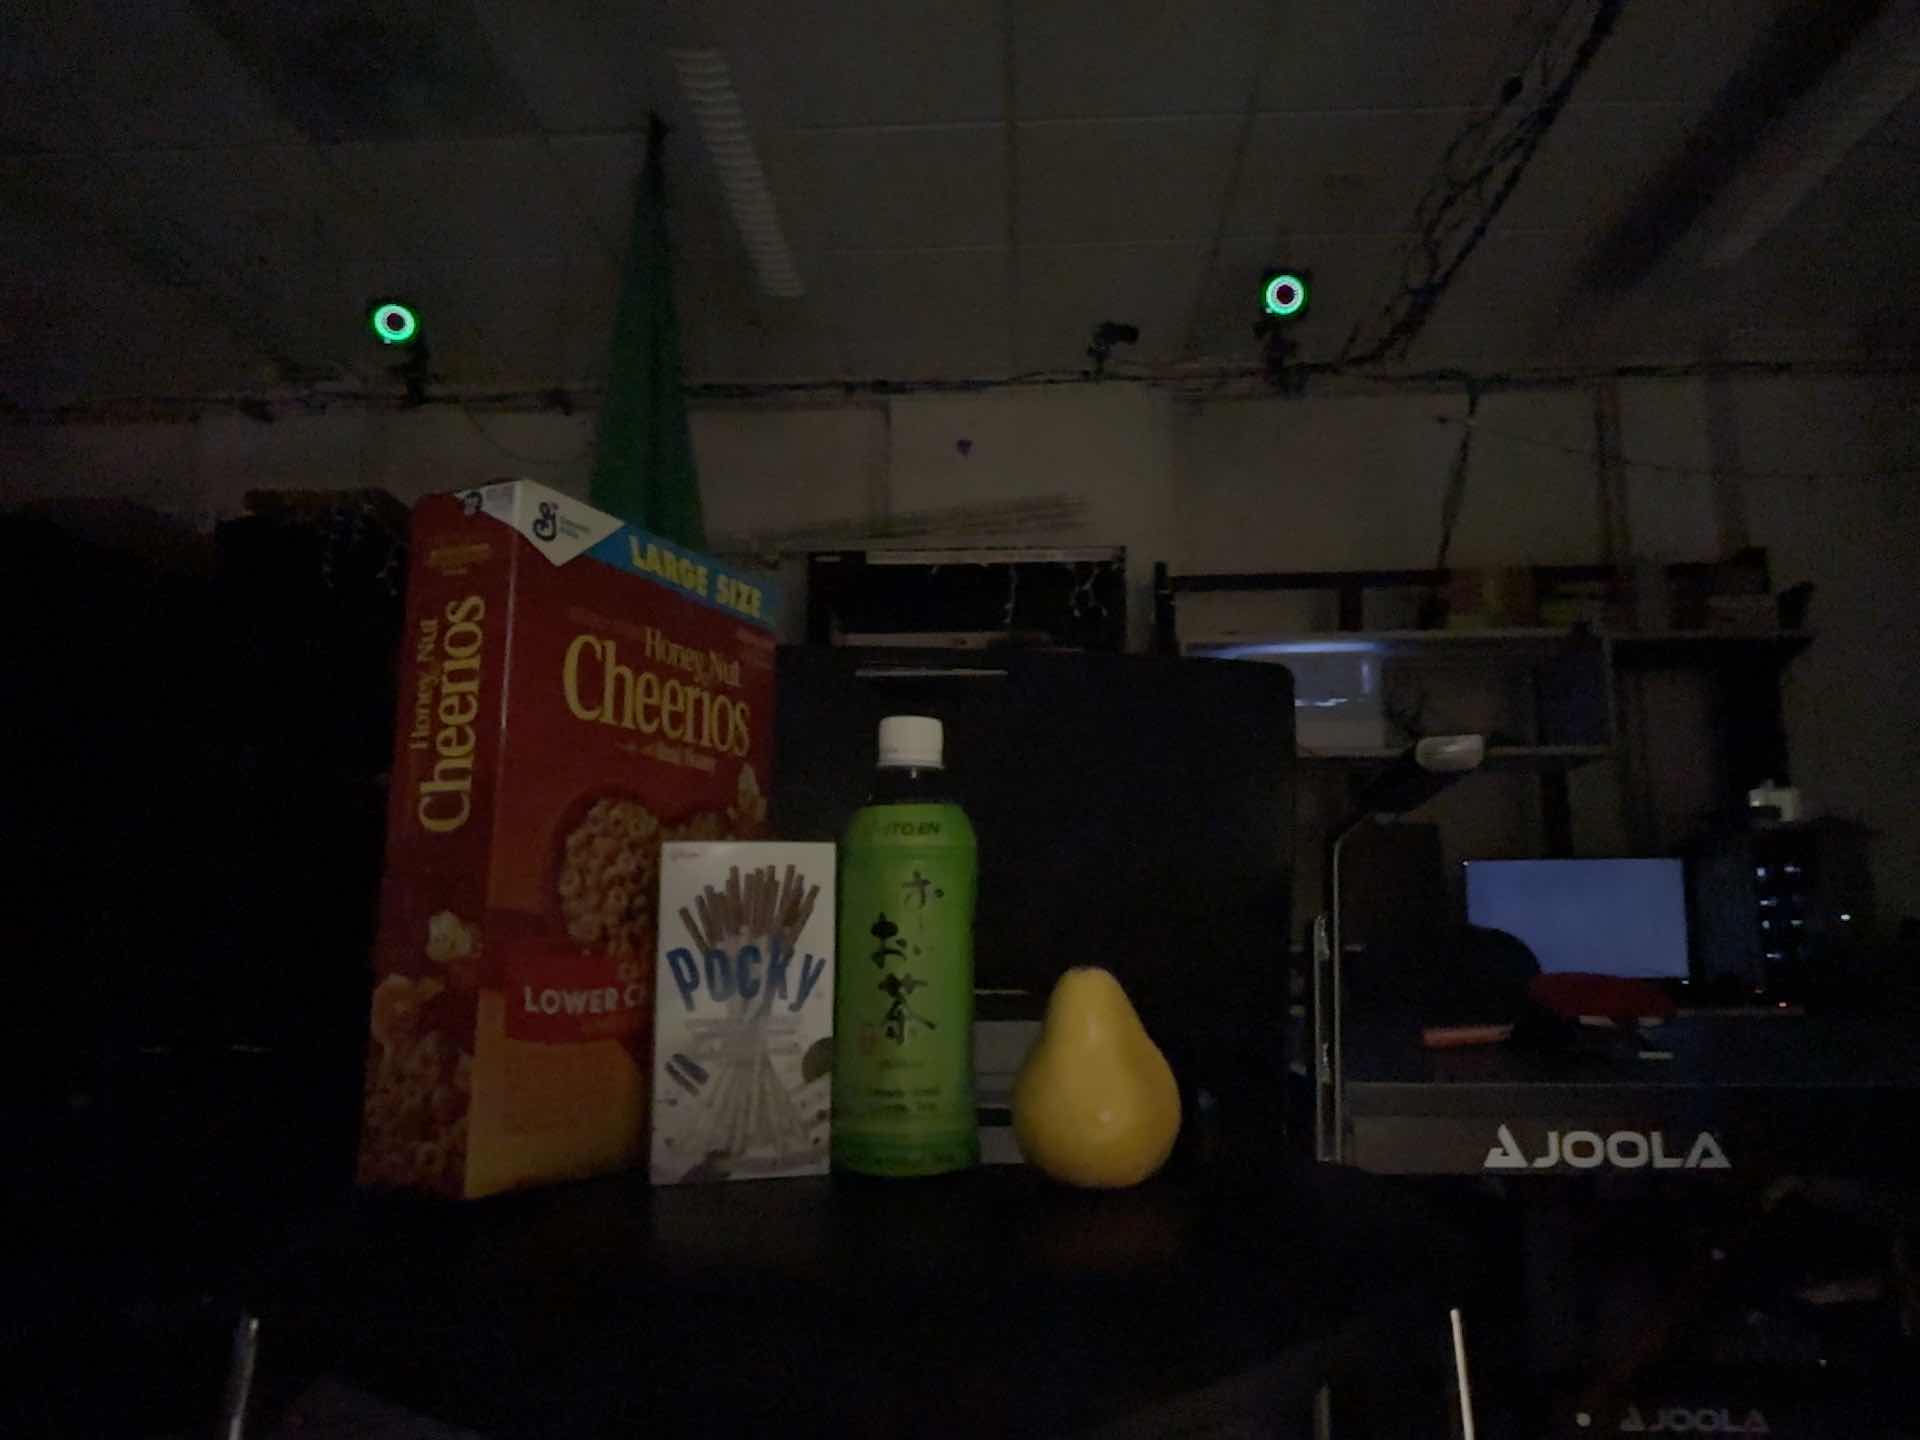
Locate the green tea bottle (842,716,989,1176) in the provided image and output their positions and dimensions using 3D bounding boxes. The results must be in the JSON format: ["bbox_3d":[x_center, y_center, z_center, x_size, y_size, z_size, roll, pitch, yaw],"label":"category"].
[{"bbox_3d":[-0.023,0.104,0.647,0.073,0.212,0.073,-3,-7,0],"label":"green tea bottle"}]

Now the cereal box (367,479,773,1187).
[{"bbox_3d":[-0.180,0.056,0.673,0.065,0.297,0.195,-2,-10,24],"label":"cereal box"}]

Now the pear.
[{"bbox_3d":[0.062,0.152,0.616,0.080,0.111,0.080,-2,-12,-1],"label":"pear"}]

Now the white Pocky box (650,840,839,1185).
[{"bbox_3d":[-0.100,0.133,0.627,0.084,0.154,0.028,2,-2,-15],"label":"white Pocky box"}]
